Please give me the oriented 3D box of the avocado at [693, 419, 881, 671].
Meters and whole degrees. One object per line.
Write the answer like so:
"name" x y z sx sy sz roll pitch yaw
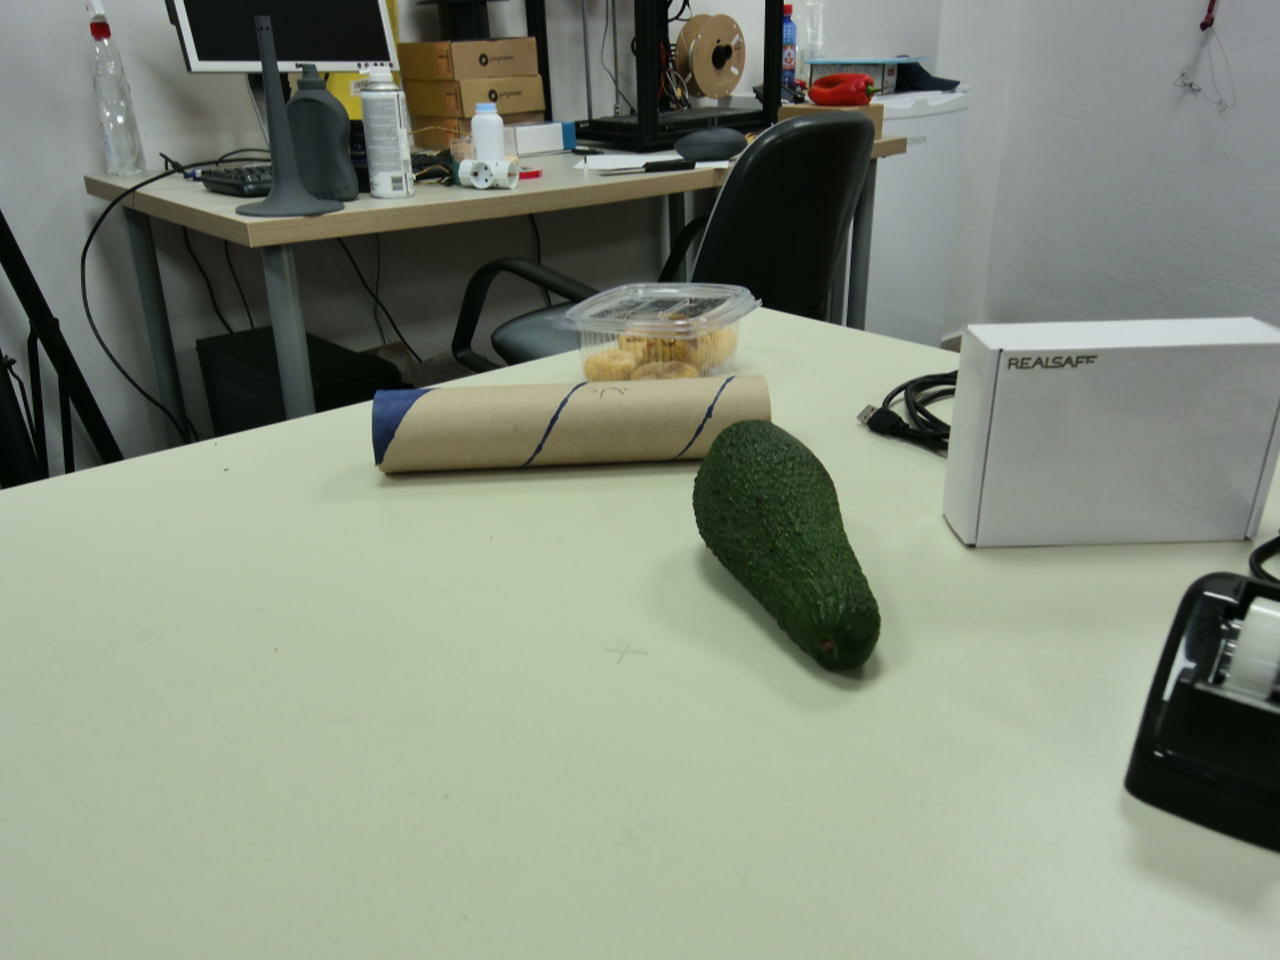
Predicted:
"avocado" 0.067 0.019 0.424 0.063 0.067 0.141 -10 23 -22
